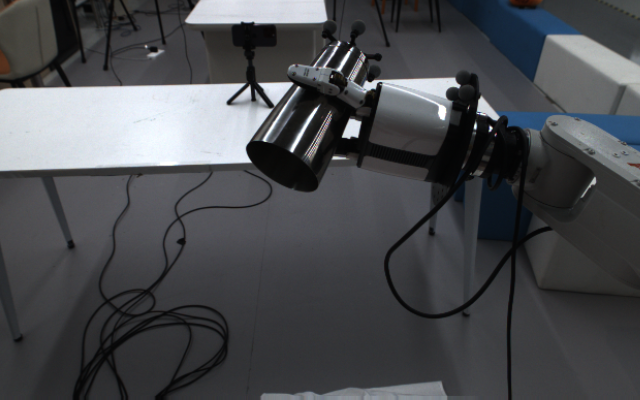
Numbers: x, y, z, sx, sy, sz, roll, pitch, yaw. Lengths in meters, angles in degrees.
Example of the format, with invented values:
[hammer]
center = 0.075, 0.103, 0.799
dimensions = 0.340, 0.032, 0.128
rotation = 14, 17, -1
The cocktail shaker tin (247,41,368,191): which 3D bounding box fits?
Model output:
[cocktail shaker tin]
center = -0.002, -0.107, 0.570
dimensions = 0.093, 0.093, 0.170
rotation = 18, 66, 21
